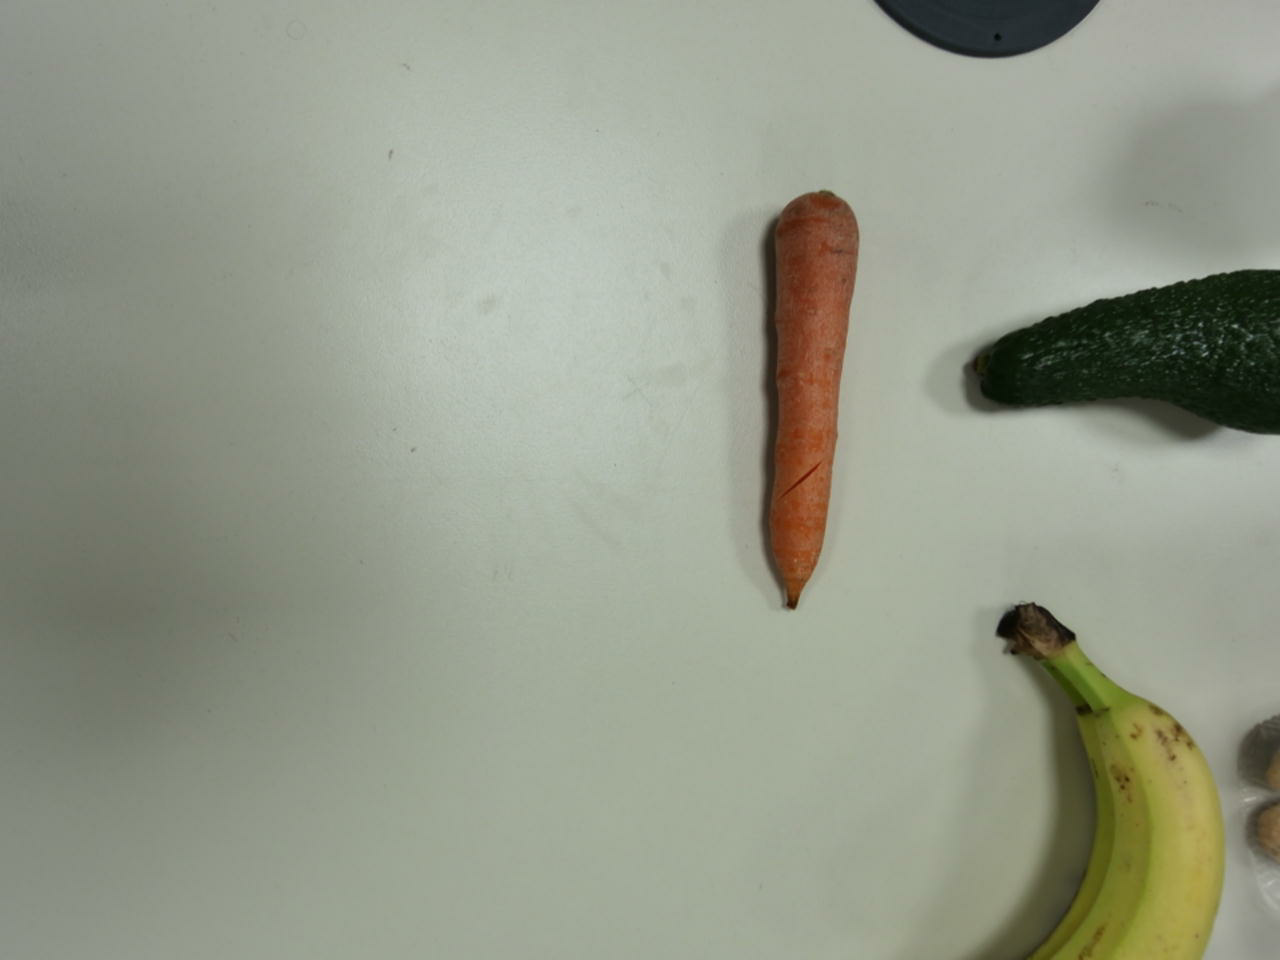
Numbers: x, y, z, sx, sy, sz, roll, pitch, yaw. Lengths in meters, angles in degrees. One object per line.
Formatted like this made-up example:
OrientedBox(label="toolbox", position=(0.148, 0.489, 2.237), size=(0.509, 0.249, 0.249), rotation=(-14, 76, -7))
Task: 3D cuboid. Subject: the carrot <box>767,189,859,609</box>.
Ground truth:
OrientedBox(label="carrot", position=(0.081, -0.036, 0.469), size=(0.039, 0.041, 0.196), rotation=(1, 90, -12))
